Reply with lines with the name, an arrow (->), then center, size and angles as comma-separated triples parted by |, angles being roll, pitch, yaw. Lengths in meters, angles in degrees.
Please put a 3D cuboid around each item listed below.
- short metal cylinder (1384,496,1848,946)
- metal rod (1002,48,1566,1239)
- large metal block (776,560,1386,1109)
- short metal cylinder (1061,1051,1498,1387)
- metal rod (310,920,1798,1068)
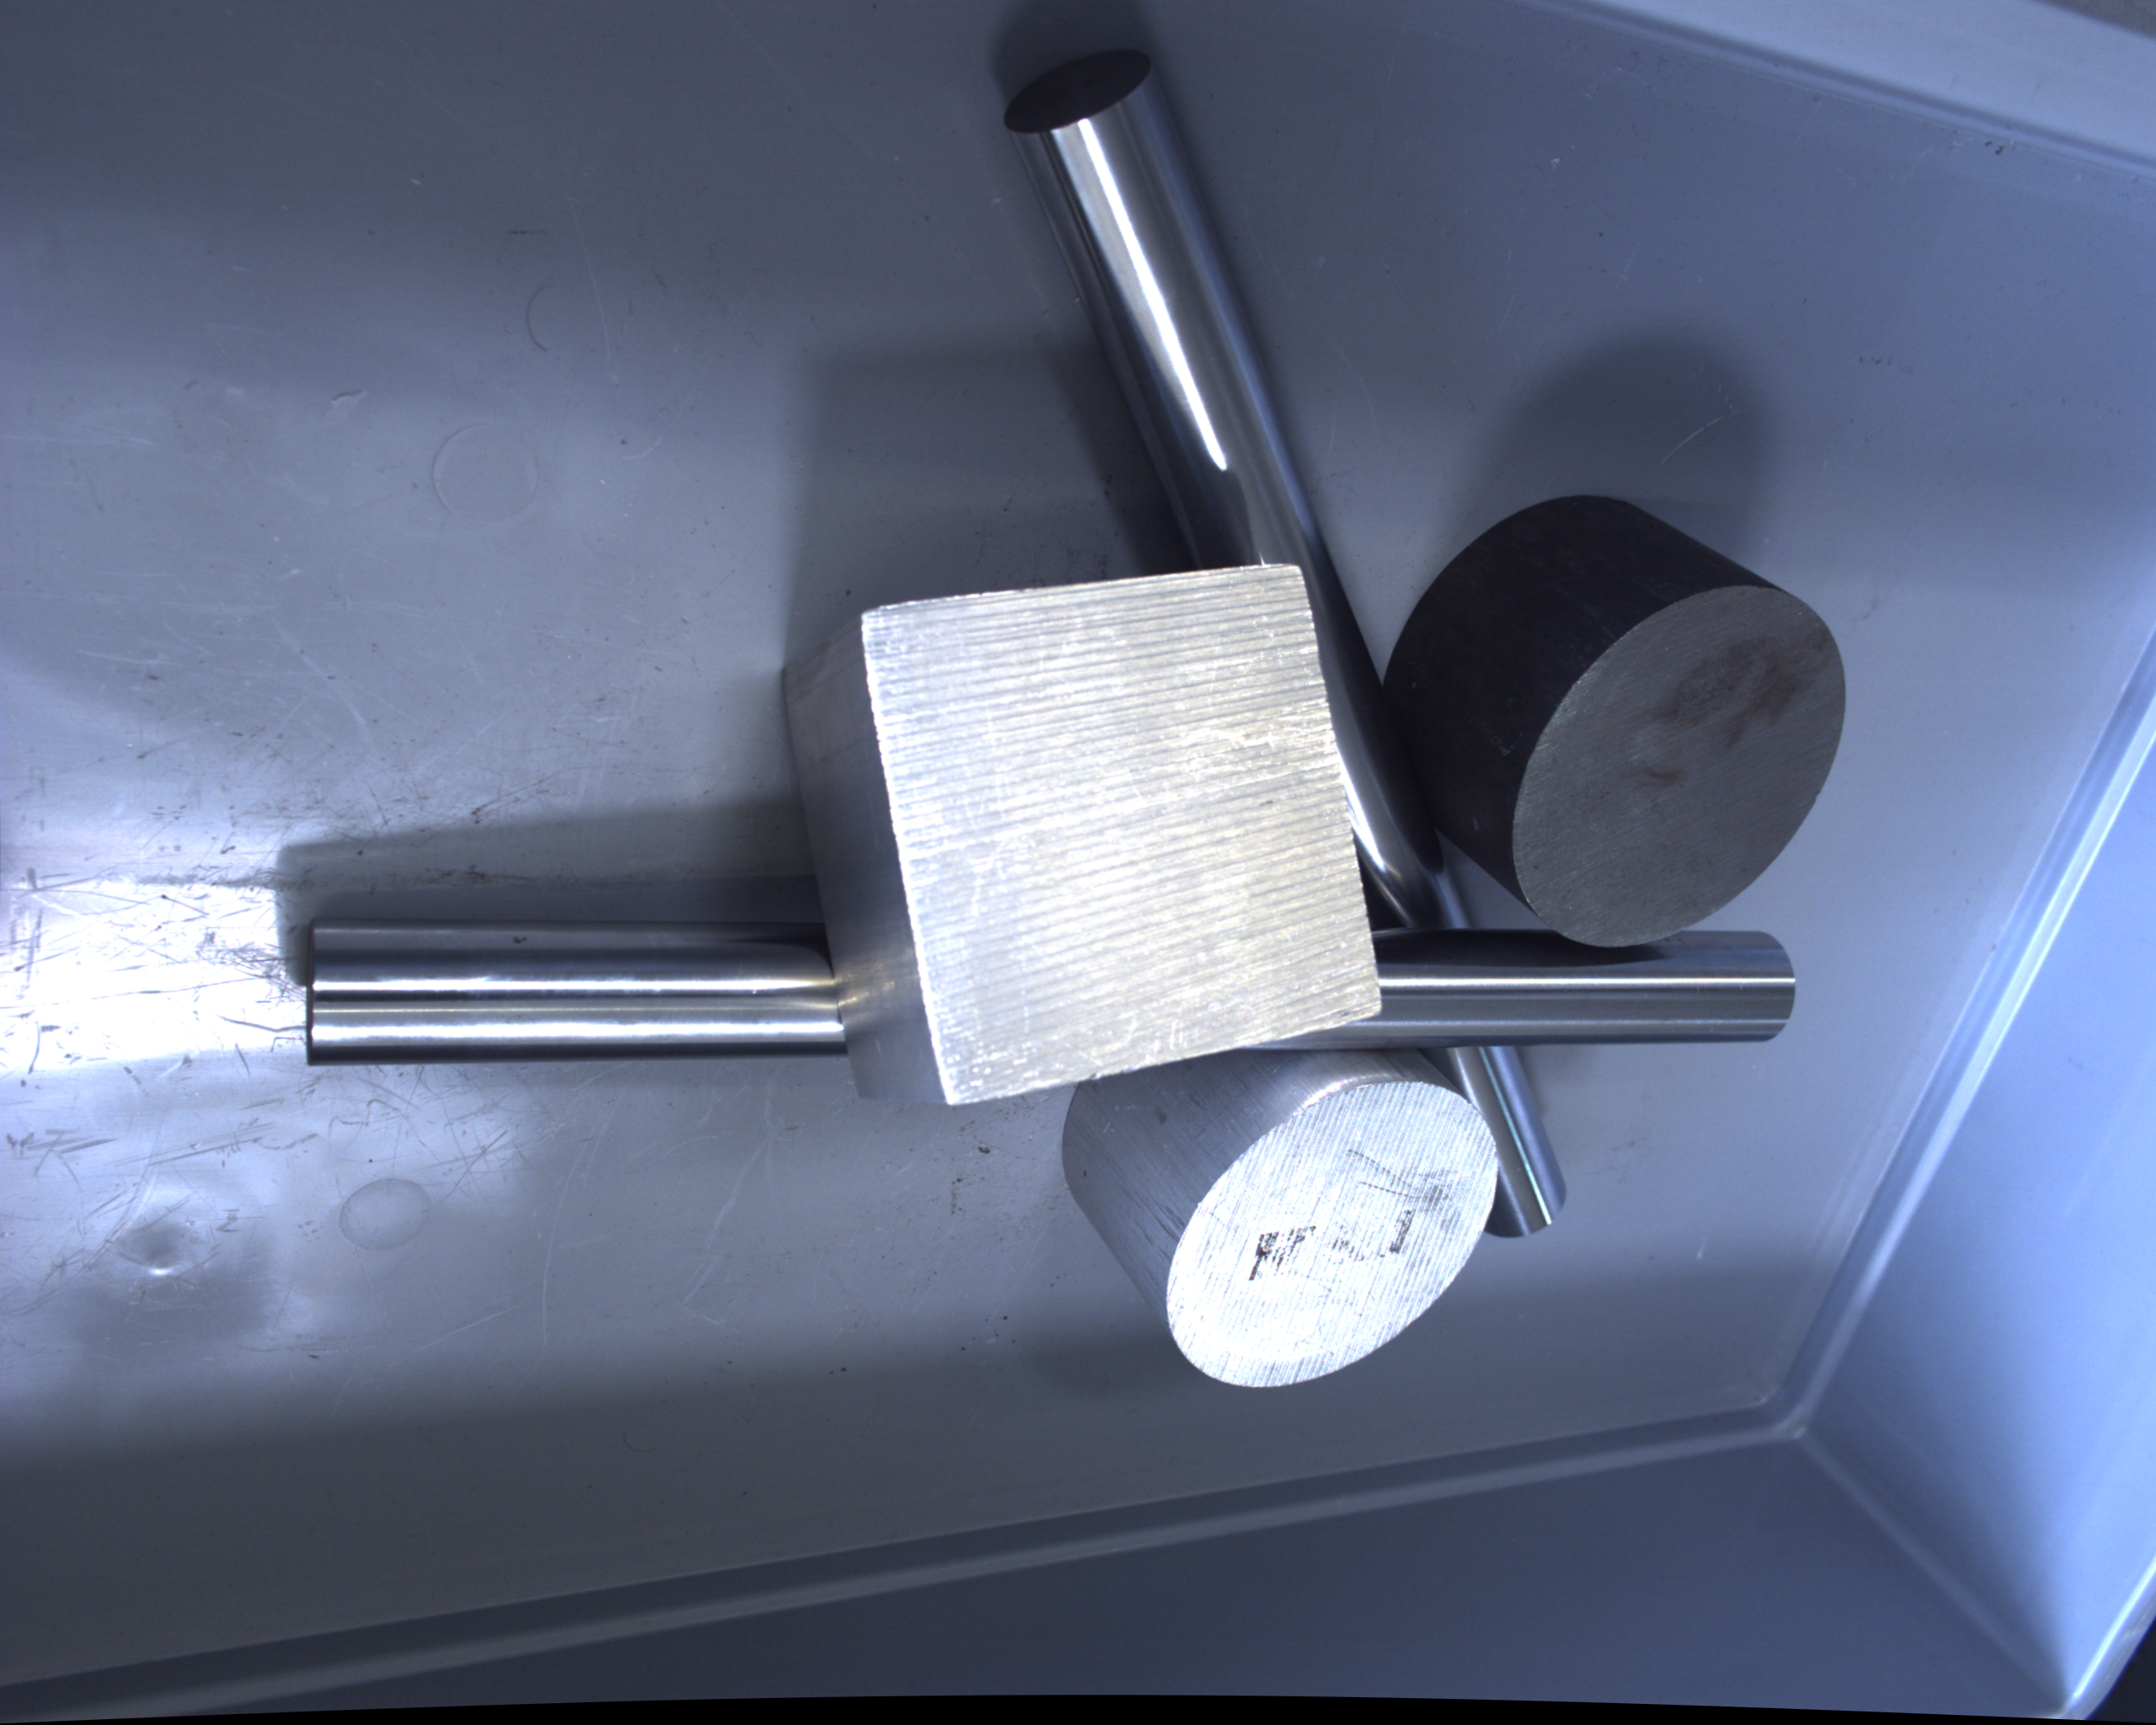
short metal cylinder -> 0.110, -0.030, 0.433 | 0.081, 0.050, 0.079 | -14, 124, -21
metal rod -> 0.054, -0.020, 0.425 | 0.025, 0.025, 0.299 | -33, 129, -7
large metal block -> -0.001, -0.004, 0.364 | 0.081, 0.050, 0.080 | -10, 88, -23
short metal cylinder -> 0.043, 0.067, 0.456 | 0.081, 0.050, 0.079 | -14, 124, -21
metal rod -> 0.011, 0.025, 0.407 | 0.303, 0.025, 0.025 | 1, 118, -22
